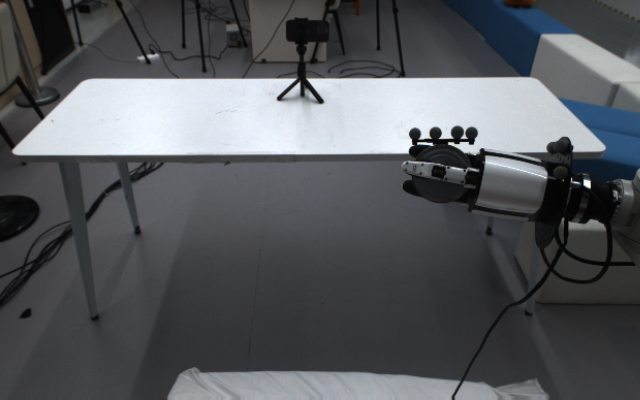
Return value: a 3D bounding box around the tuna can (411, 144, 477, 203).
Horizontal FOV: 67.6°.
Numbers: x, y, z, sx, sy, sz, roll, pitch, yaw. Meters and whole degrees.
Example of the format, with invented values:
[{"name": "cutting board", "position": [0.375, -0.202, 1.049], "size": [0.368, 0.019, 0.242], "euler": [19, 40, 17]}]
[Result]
[{"name": "tuna can", "position": [0.181, -0.040, 0.713], "size": [0.085, 0.085, 0.034], "euler": [12, 8, 14]}]
